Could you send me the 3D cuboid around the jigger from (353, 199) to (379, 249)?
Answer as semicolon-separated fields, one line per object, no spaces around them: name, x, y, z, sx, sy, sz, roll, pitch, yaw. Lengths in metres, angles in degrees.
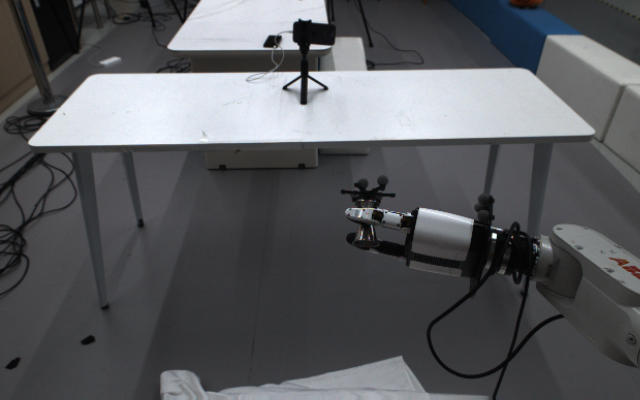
jigger;0.074;0.037;0.776;0.043;0.043;0.071;3;71;2
